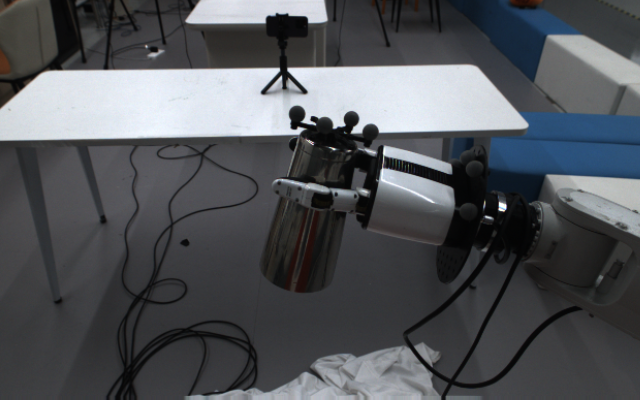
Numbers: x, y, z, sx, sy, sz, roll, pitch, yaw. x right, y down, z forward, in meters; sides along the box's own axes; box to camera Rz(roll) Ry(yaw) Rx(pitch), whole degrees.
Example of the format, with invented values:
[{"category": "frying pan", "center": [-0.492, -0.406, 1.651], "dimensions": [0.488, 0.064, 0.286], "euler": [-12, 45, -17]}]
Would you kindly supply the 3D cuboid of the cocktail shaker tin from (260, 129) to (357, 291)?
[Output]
[{"category": "cocktail shaker tin", "center": [-0.005, 0.008, 0.557], "dimensions": [0.093, 0.170, 0.093], "euler": [12, 25, -6]}]
